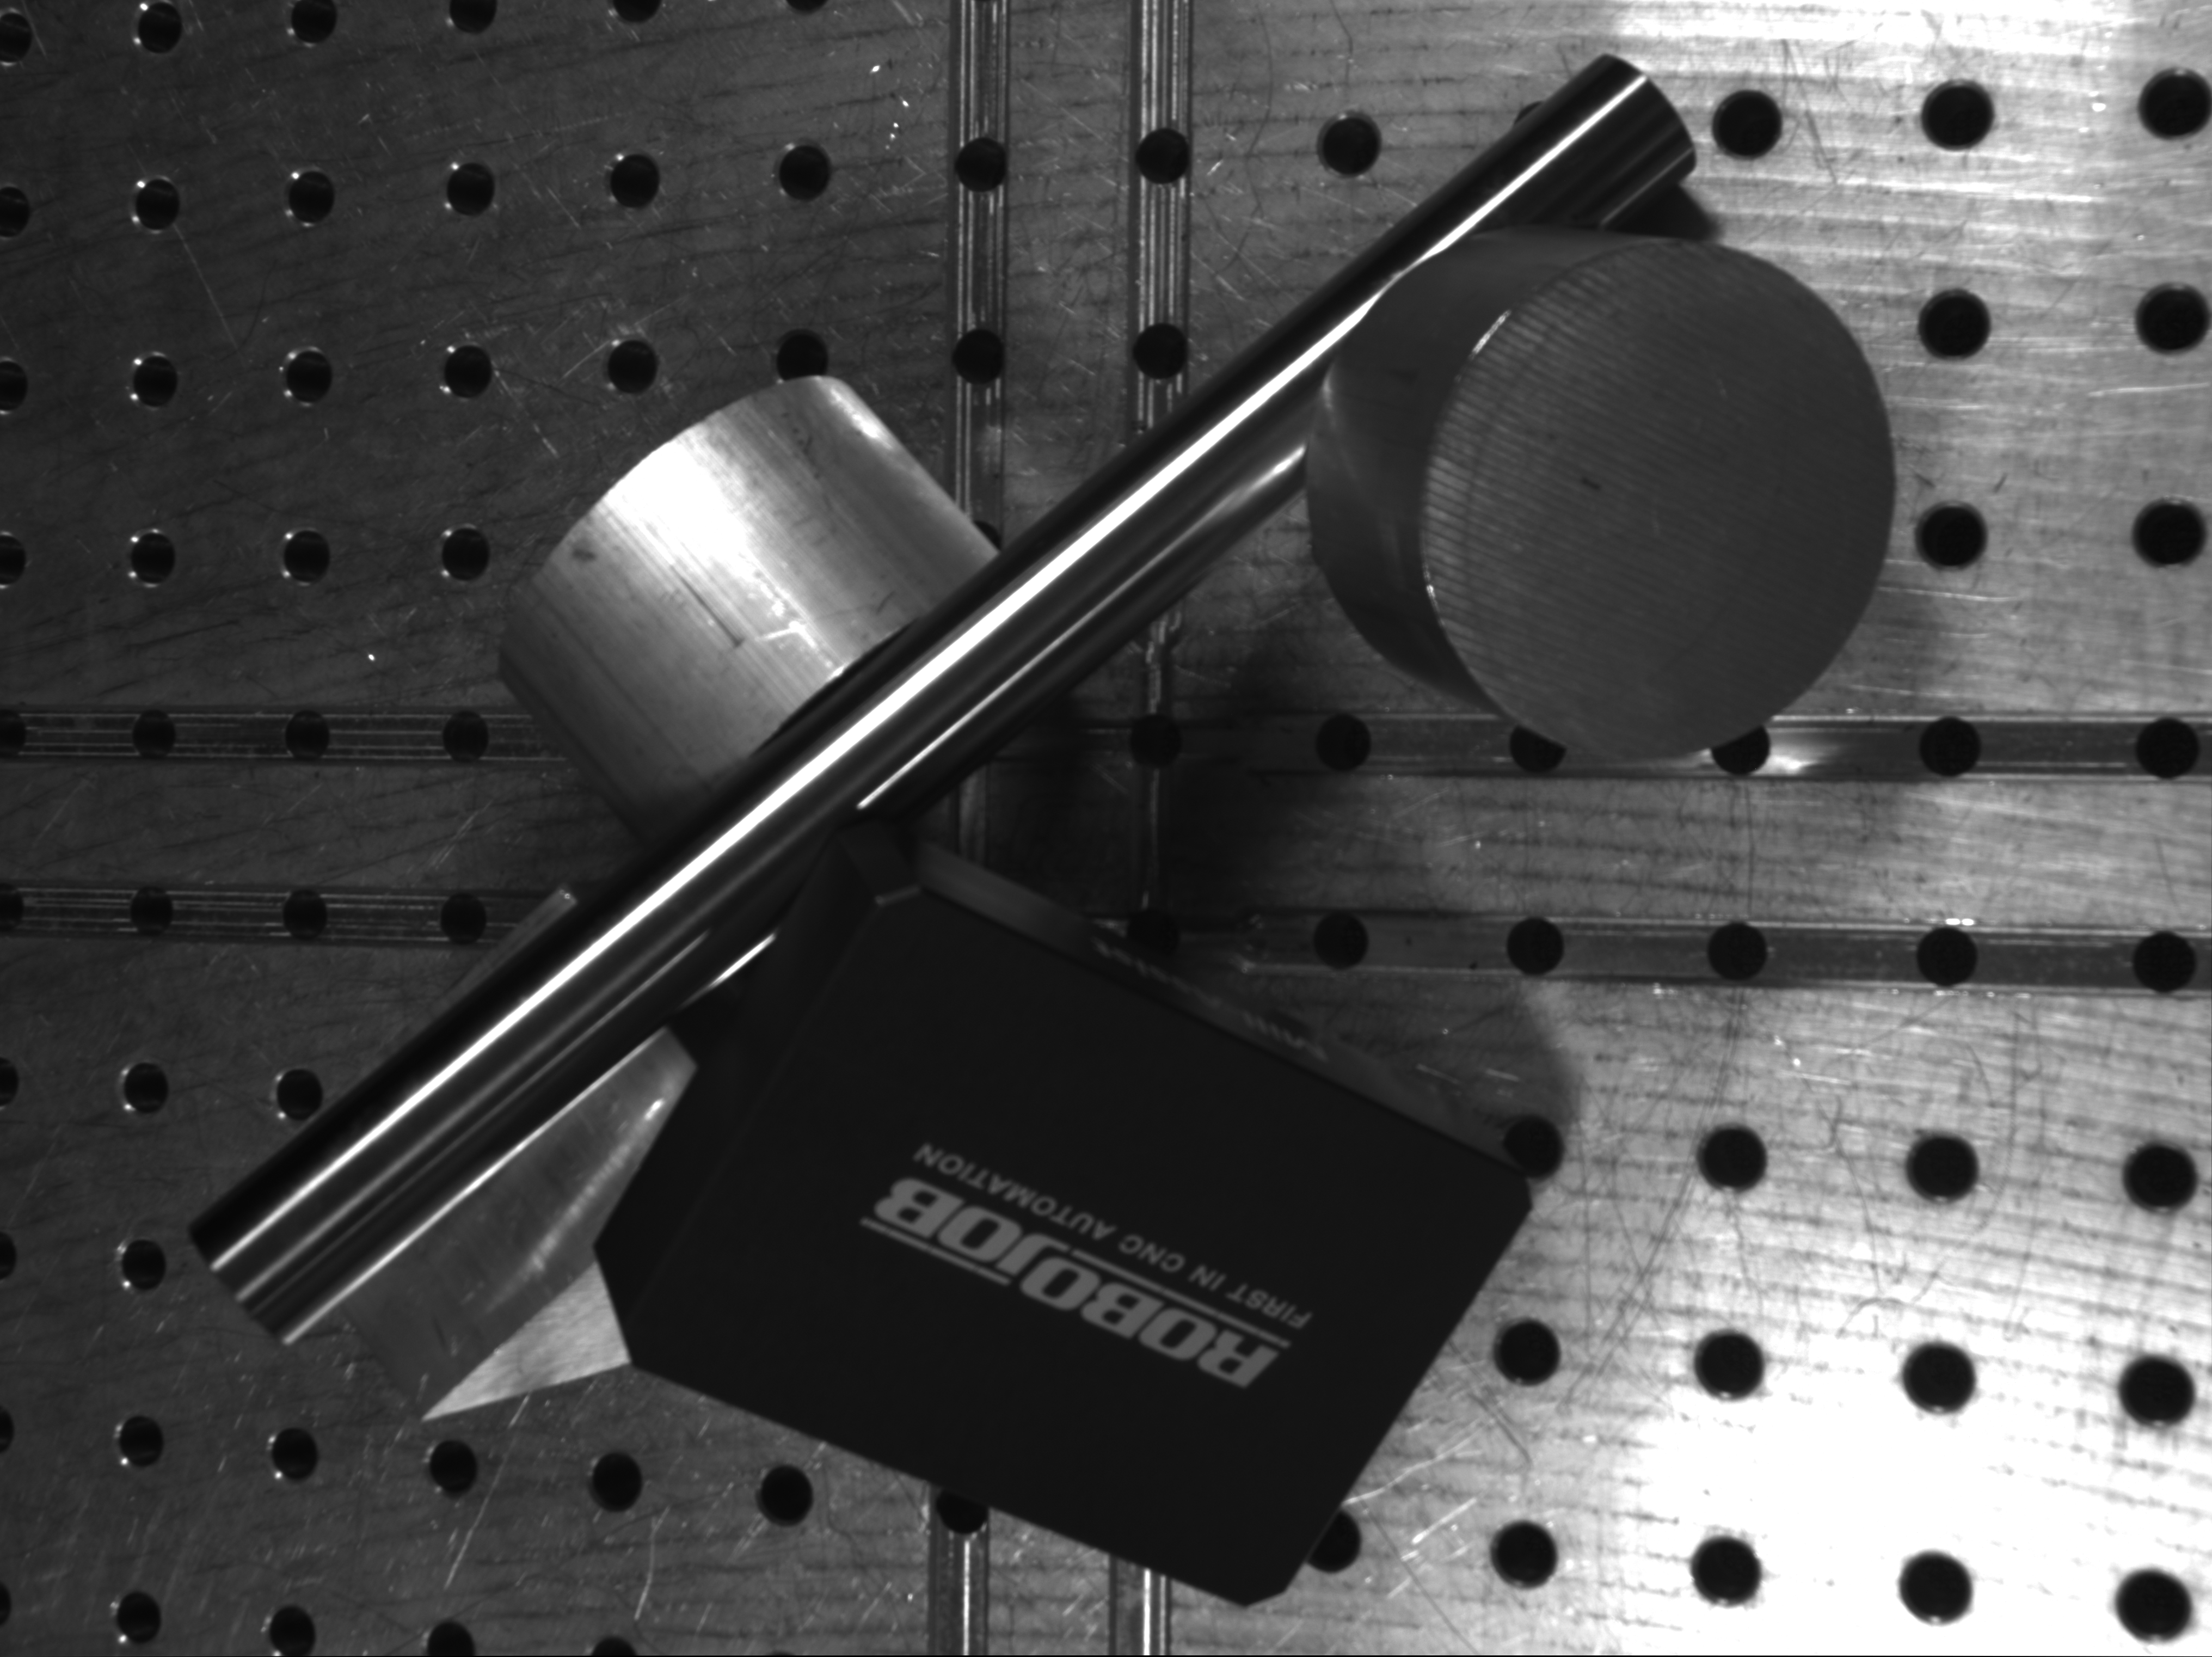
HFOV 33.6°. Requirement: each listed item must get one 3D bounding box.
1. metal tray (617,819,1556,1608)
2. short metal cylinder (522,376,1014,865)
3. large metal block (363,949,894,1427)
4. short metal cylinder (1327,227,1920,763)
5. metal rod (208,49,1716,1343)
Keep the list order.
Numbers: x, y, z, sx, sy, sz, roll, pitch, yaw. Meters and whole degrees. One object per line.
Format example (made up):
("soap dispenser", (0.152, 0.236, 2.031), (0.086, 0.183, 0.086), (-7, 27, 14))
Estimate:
("metal tray", (-0.002, 0.066, 0.602), (0.130, 0.030, 0.090), (26, 101, -25))
("short metal cylinder", (-0.054, -0.032, 0.637), (0.080, 0.080, 0.050), (-45, 76, 14))
("large metal block", (-0.084, 0.056, 0.647), (0.080, 0.080, 0.050), (-41, 77, 15))
("short metal cylinder", (0.081, -0.055, 0.583), (0.080, 0.050, 0.080), (-4, 103, -17))
("metal rod", (-0.020, -0.024, 0.597), (0.300, 0.025, 0.025), (-40, 76, -7))
